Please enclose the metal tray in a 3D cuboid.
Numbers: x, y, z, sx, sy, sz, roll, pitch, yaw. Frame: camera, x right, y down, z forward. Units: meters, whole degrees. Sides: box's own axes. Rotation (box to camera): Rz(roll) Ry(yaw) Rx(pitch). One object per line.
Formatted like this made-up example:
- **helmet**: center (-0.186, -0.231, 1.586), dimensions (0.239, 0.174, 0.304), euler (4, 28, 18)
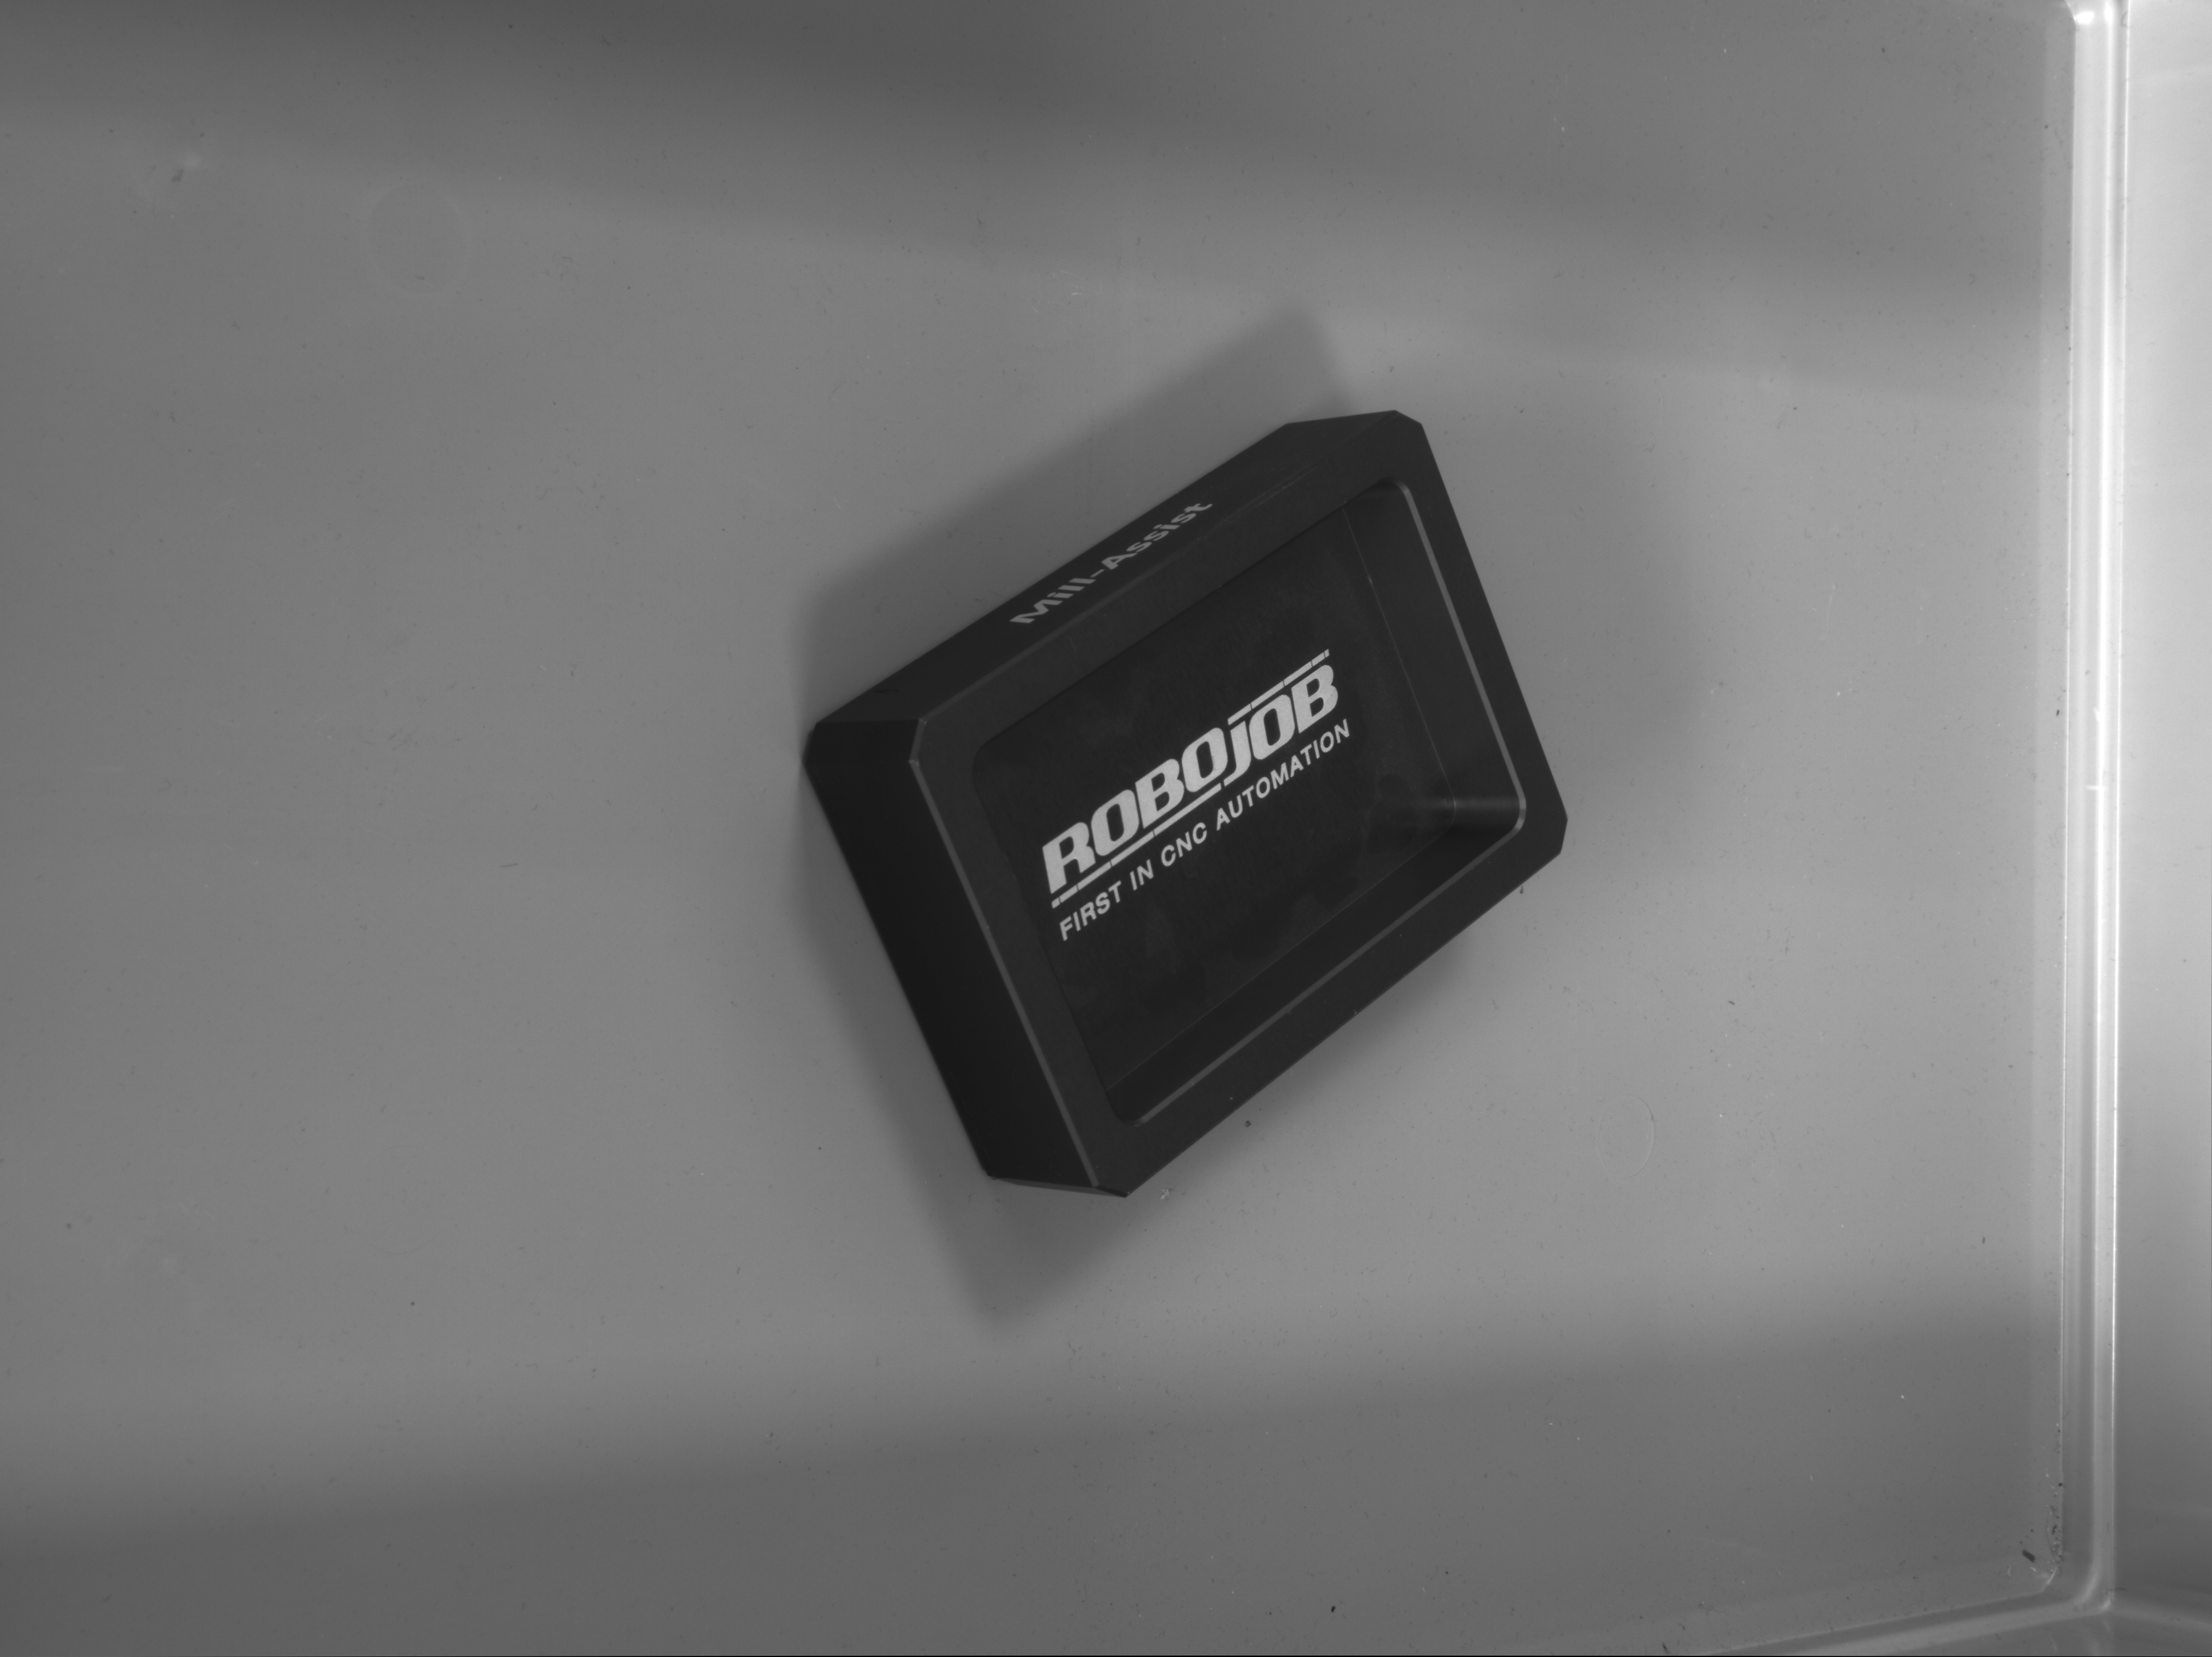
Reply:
- **metal tray**: center (0.018, -0.006, 0.645), dimensions (0.130, 0.030, 0.090), euler (-35, 112, -35)
